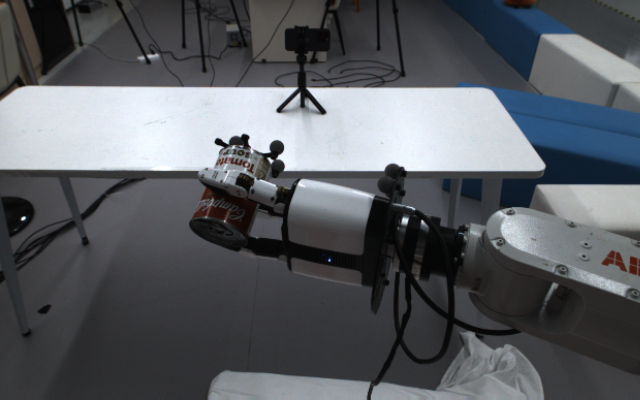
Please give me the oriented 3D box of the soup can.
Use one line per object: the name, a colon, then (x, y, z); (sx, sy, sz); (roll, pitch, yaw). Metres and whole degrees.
soup can: (-0.100, -0.005, 0.563); (0.067, 0.067, 0.101); (9, 60, 10)
